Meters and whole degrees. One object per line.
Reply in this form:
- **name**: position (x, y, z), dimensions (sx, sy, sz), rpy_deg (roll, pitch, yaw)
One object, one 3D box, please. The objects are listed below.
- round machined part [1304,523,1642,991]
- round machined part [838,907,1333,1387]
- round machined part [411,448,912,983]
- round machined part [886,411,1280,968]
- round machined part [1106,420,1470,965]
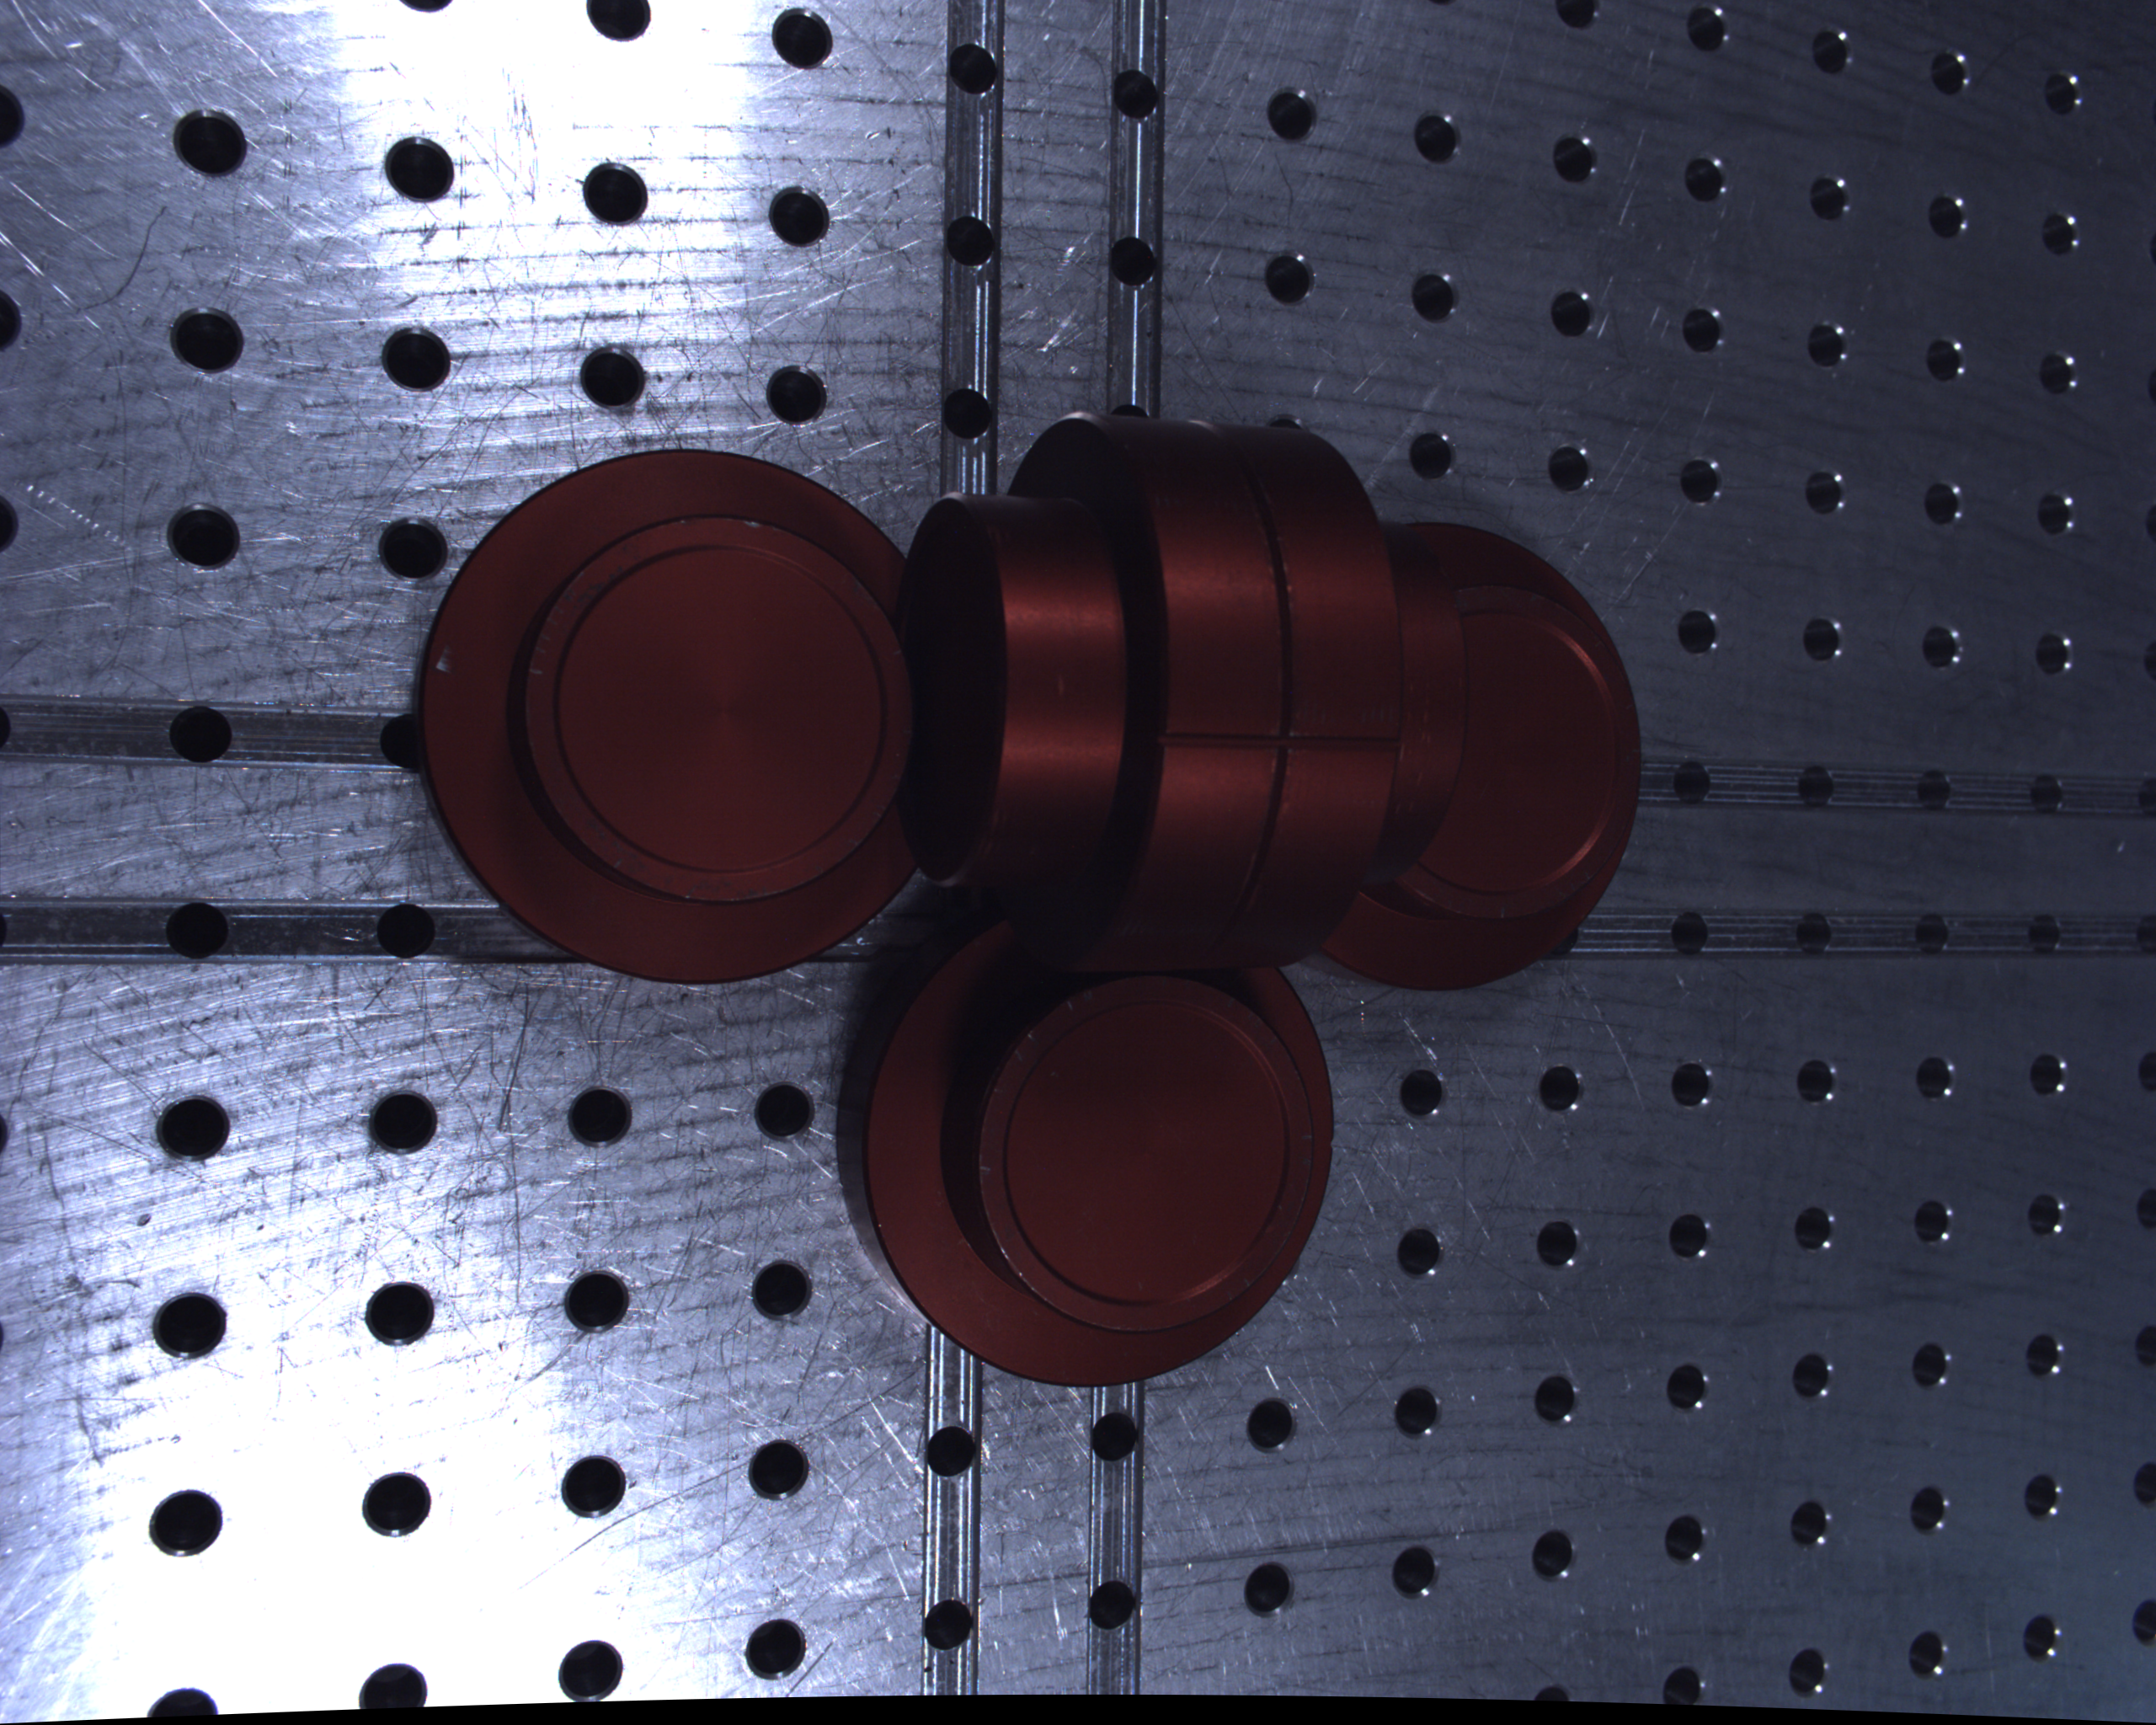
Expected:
- **round machined part**: position (0.076, -0.022, 0.432), dimensions (0.099, 0.042, 0.097), rpy_deg (0, 90, -21)
- **round machined part**: position (0.006, 0.054, 0.407), dimensions (0.099, 0.042, 0.097), rpy_deg (0, 90, -21)
- **round machined part**: position (-0.069, -0.027, 0.379), dimensions (0.099, 0.042, 0.097), rpy_deg (0, 90, -21)
- **round machined part**: position (-0.005, -0.030, 0.366), dimensions (0.042, 0.098, 0.097), rpy_deg (1, 90, -20)
- **round machined part**: position (0.036, -0.031, 0.382), dimensions (0.042, 0.098, 0.097), rpy_deg (-1, 91, -20)
